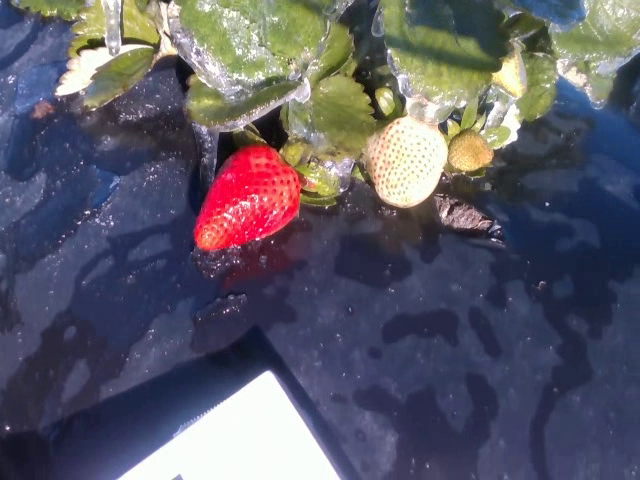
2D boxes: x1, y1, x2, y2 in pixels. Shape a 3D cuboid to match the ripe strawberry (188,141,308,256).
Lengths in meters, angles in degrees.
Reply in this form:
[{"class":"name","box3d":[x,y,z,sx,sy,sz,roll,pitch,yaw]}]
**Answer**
[{"class":"ripe strawberry","box3d":[-0.034,-0.019,0.244,0.041,0.052,0.040,33,-22,23]}]
